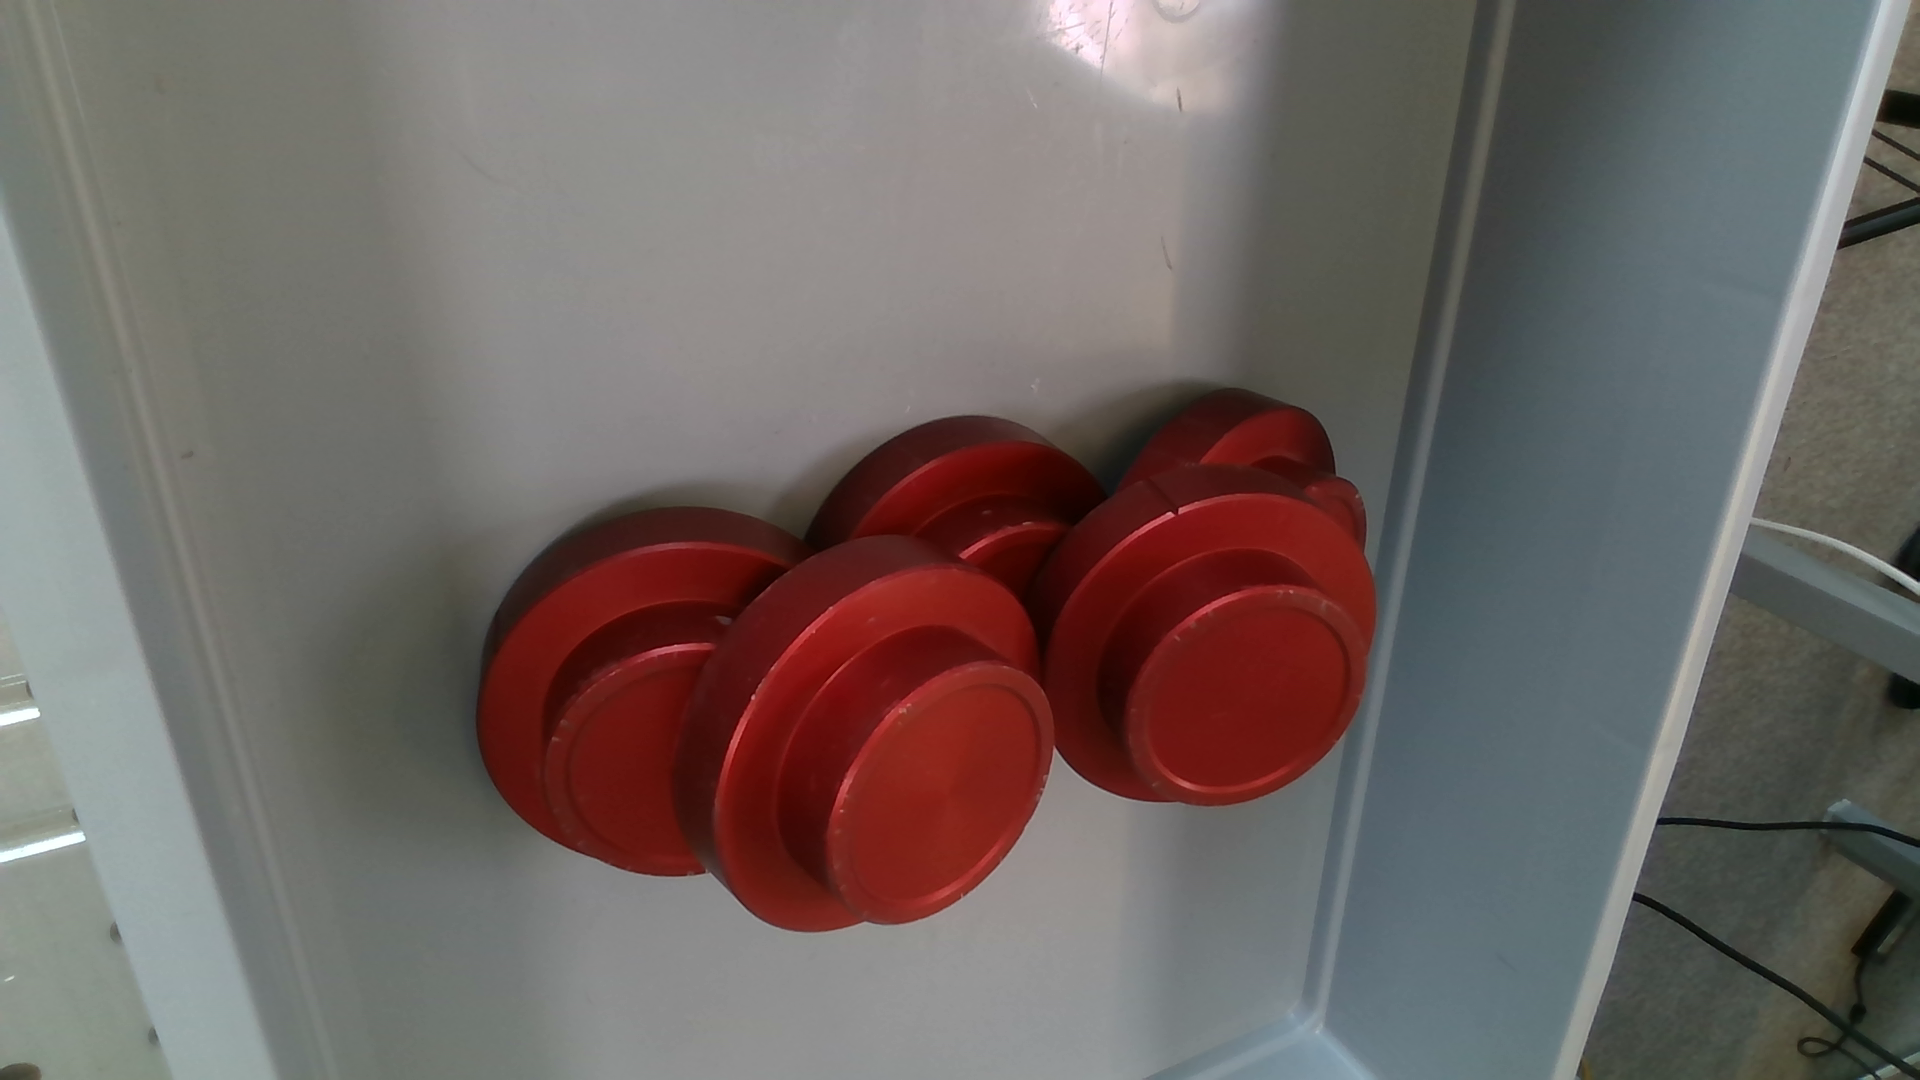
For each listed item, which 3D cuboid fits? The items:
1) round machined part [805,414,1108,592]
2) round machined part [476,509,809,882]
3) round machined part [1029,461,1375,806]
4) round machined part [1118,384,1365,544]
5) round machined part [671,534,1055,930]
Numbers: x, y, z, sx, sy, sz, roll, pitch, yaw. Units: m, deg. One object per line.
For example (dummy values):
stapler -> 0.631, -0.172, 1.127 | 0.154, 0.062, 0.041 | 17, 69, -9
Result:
round machined part -> 0.006, 0.017, 0.390 | 0.098, 0.042, 0.098 | -15, 122, -26
round machined part -> -0.069, 0.045, 0.342 | 0.098, 0.042, 0.098 | -6, 119, -12
round machined part -> 0.068, 0.032, 0.371 | 0.098, 0.042, 0.098 | -8, 119, -14
round machined part -> 0.087, 0.005, 0.420 | 0.098, 0.042, 0.098 | -25, 127, -38
round machined part -> -0.016, 0.051, 0.330 | 0.098, 0.042, 0.098 | -22, 125, -34
